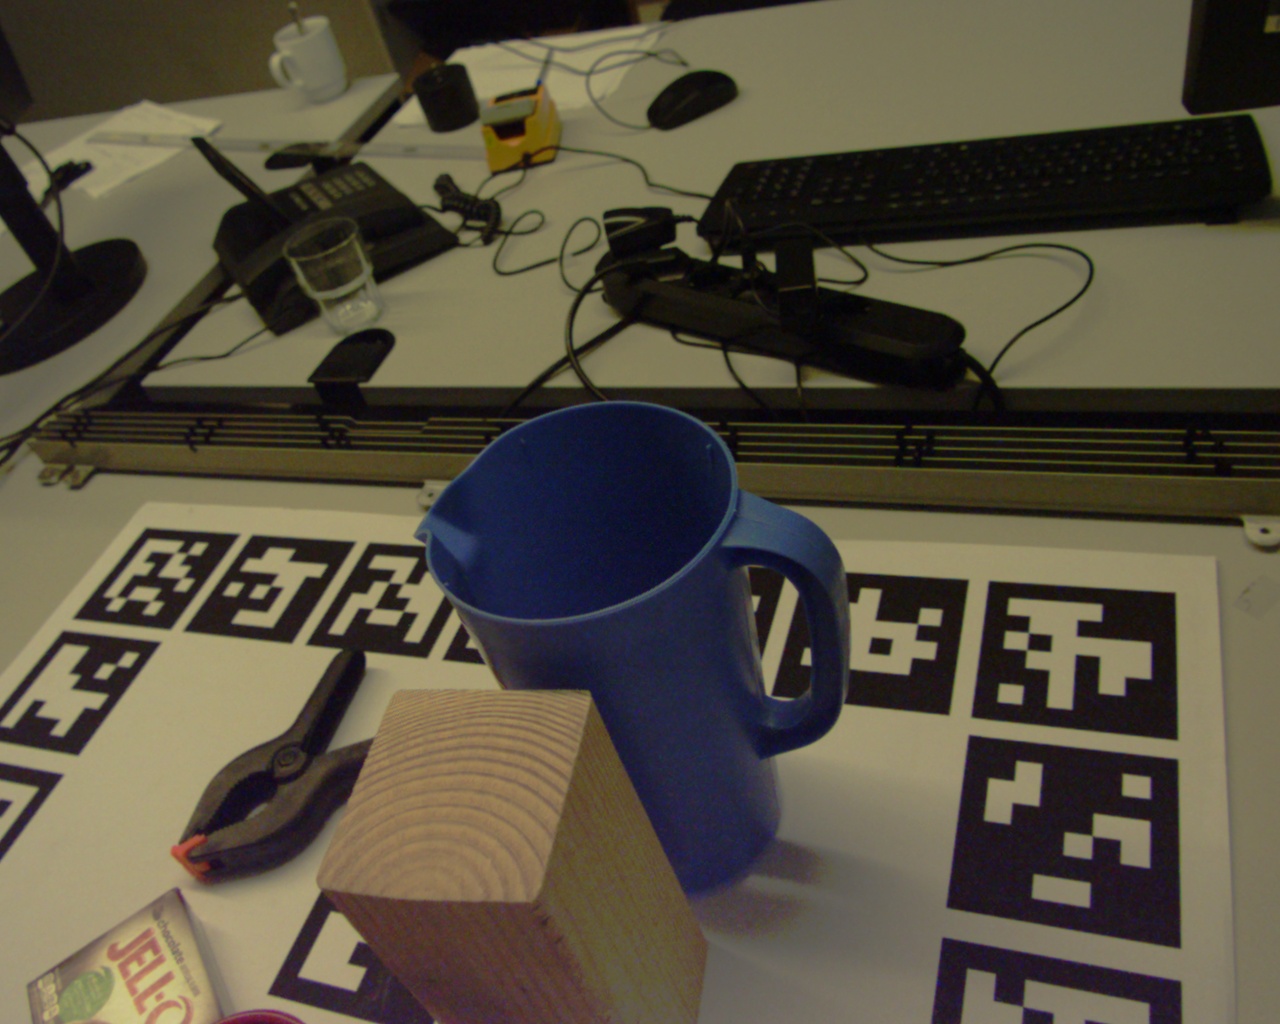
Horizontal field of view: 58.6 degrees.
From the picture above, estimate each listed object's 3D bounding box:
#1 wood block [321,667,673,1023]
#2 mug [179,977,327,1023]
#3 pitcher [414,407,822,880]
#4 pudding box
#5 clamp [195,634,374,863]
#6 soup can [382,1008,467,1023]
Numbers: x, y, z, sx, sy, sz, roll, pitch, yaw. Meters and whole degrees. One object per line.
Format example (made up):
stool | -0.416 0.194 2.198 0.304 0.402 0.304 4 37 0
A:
wood block | -0.051 0.172 0.517 0.091 0.205 0.091 3 45 18
mug | -0.170 0.290 0.533 0.093 0.081 0.119 -33 41 -18
pitcher | 0.004 0.077 0.576 0.191 0.240 0.133 0 42 25
pudding box | -0.281 0.268 0.637 0.089 0.038 0.115 -36 42 -13
clamp | -0.212 0.160 0.735 0.164 0.036 0.123 -40 52 -21
soup can | -0.081 0.272 0.500 0.068 0.101 0.068 -12 43 10
